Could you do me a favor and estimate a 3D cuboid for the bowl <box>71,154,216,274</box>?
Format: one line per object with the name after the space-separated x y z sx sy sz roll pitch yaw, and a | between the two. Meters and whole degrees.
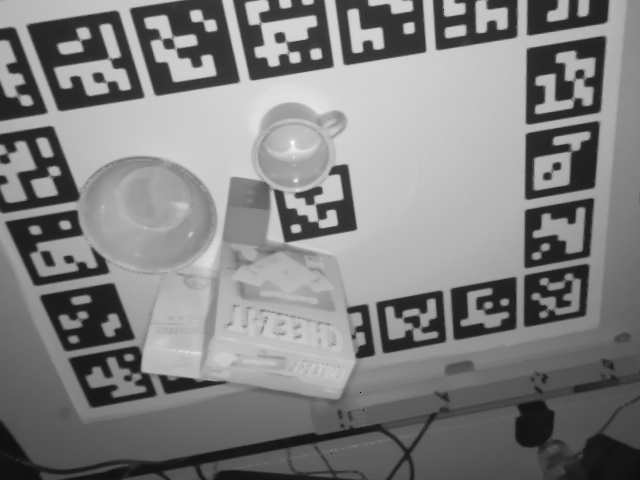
-0.203 -0.042 0.817 0.162 0.055 0.160 -3 119 -4 | bowl

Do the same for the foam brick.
-0.078 -0.035 0.839 0.053 0.078 0.051 5 120 -9 | foam brick

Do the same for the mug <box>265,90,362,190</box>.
-0.007 -0.121 0.786 0.117 0.082 0.093 -17 128 2 | mug

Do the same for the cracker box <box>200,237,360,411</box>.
-0.044 0.085 0.828 0.165 0.215 0.071 18 119 -14 | cracker box

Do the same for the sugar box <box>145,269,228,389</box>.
-0.154 0.104 0.846 0.093 0.177 0.045 10 119 -11 | sugar box
